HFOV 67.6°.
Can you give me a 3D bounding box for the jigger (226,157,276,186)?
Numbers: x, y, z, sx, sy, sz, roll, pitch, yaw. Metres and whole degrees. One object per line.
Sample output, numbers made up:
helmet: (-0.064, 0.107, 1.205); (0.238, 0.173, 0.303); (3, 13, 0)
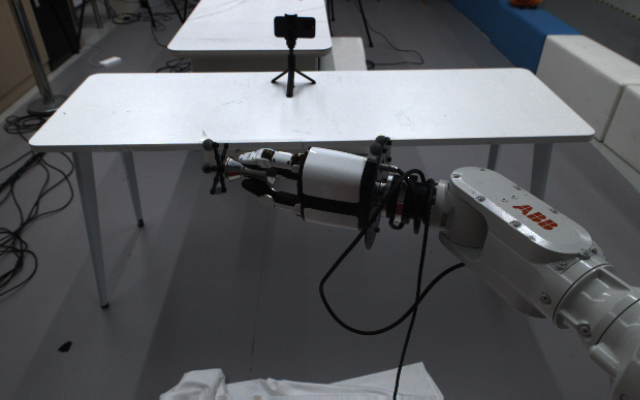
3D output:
jigger: (-0.098, -0.048, 0.736); (0.071, 0.043, 0.043); (5, 34, 13)
